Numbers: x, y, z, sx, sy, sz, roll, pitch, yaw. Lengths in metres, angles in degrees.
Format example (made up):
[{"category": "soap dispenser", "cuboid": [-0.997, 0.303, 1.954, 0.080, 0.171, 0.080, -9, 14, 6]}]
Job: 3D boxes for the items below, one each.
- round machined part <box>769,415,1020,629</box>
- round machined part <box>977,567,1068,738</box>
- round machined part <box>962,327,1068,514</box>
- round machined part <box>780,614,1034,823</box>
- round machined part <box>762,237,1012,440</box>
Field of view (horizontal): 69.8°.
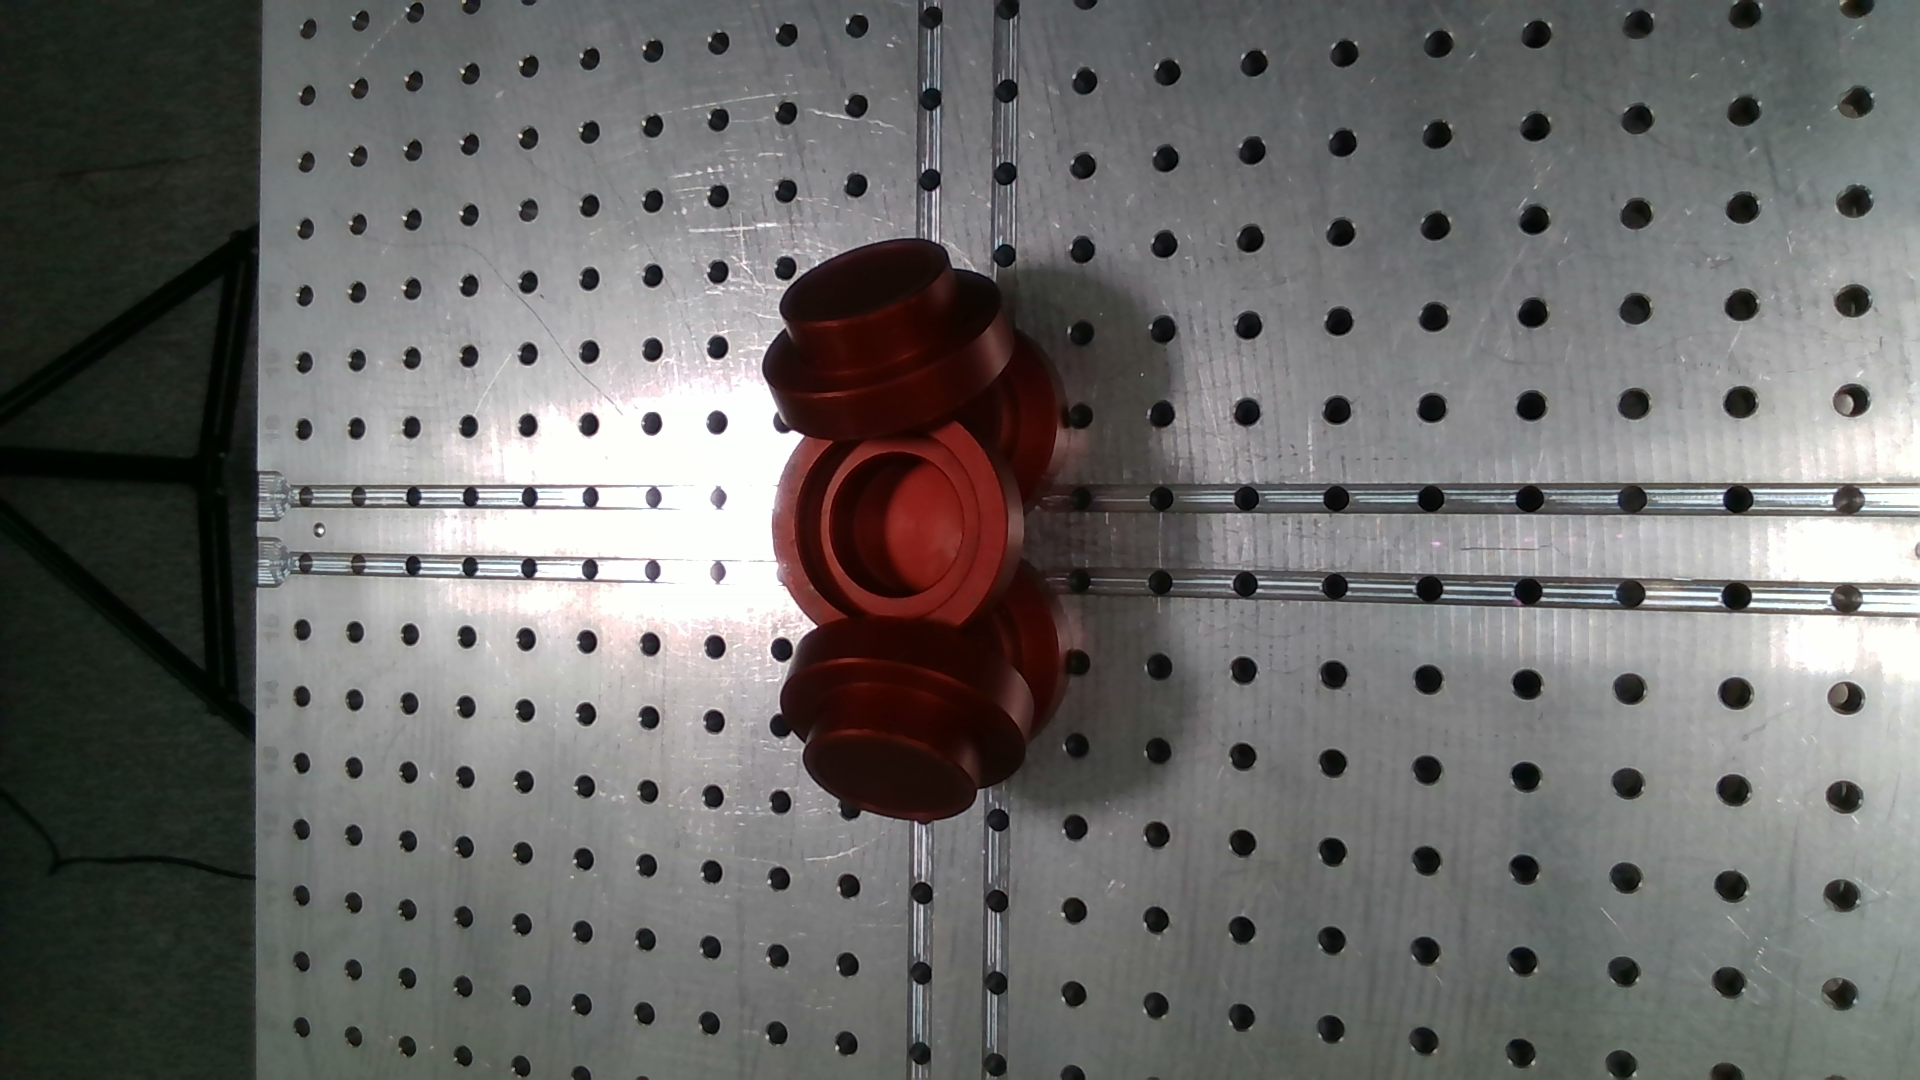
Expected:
[{"category": "round machined part", "cuboid": [-0.022, -0.005, 0.541, 0.098, 0.042, 0.098, 0, 91, 20]}, {"category": "round machined part", "cuboid": [-0.006, 0.048, 0.581, 0.098, 0.042, 0.098, 0, 91, 20]}, {"category": "round machined part", "cuboid": [-0.007, -0.050, 0.581, 0.098, 0.042, 0.098, 0, 91, 20]}, {"category": "round machined part", "cuboid": [-0.023, 0.074, 0.534, 0.098, 0.098, 0.042, 0, 50, 20]}, {"category": "round machined part", "cuboid": [-0.032, -0.083, 0.535, 0.098, 0.098, 0.042, -6, 126, 20]}]
